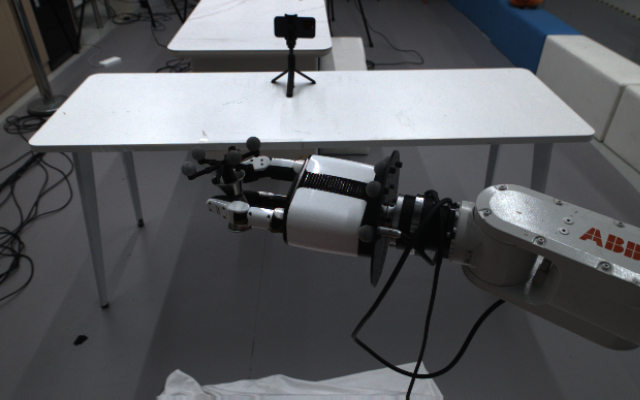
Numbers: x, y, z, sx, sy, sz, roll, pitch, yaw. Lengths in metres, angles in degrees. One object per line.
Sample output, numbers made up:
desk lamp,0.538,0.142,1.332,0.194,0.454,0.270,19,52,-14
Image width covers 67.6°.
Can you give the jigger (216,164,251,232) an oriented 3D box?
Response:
jigger,-0.104,-0.001,0.601,0.043,0.071,0.043,-10,32,6
